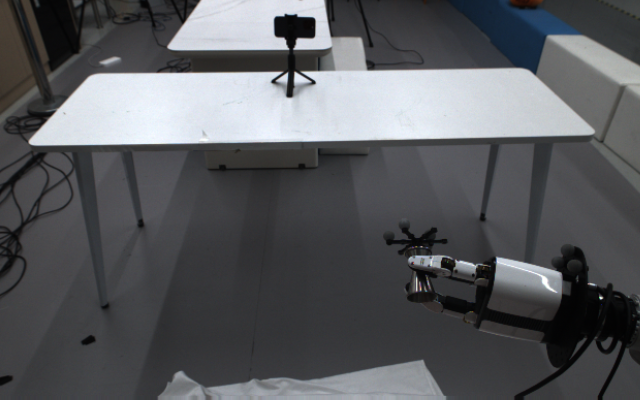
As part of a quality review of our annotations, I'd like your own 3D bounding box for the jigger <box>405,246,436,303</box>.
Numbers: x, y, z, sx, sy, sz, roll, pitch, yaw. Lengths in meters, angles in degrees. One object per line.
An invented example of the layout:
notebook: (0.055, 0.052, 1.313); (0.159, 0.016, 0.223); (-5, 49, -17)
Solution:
jigger: (0.140, 0.101, 0.677); (0.043, 0.043, 0.071); (2, 59, 0)
